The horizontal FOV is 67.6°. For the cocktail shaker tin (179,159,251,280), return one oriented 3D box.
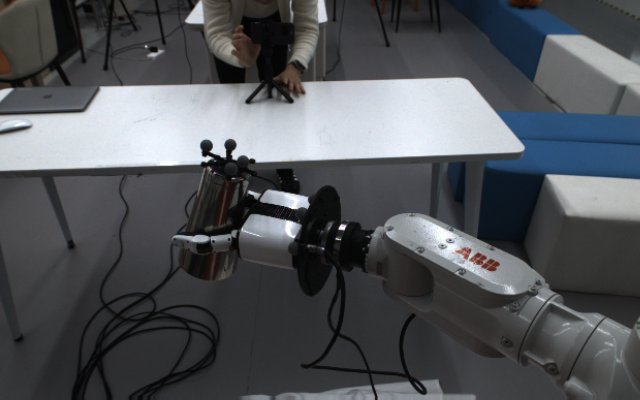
[{"bbox_3d":[-0.153,0.024,0.728,0.093,0.170,0.093,15,27,-8],"label":"cocktail shaker tin"}]
